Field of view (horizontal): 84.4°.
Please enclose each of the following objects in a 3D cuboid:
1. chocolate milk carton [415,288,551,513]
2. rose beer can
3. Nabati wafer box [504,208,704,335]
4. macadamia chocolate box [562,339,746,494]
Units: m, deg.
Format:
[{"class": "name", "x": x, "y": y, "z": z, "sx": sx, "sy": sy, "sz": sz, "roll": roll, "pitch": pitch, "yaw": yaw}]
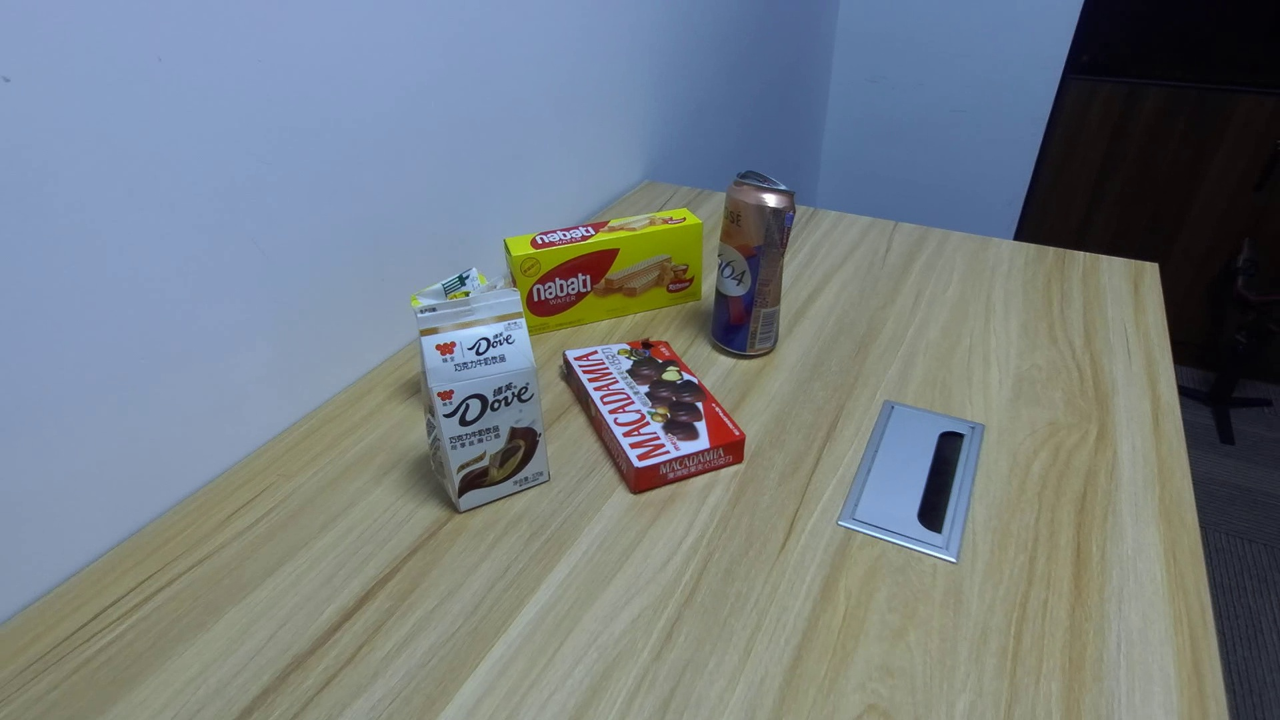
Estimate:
[{"class": "chocolate milk carton", "x": -0.119, "y": 0.022, "z": 0.513, "sx": 0.084, "sy": 0.155, "sz": 0.072, "roll": -16, "pitch": 36, "yaw": -20}, {"class": "rose beer can", "x": 0.104, "y": -0.086, "z": 0.653, "sx": 0.069, "sy": 0.168, "sz": 0.070, "roll": 15, "pitch": 30, "yaw": 20}, {"class": "Nabati wafer box", "x": -0.032, "y": -0.091, "z": 0.730, "sx": 0.203, "sy": 0.093, "sz": 0.042, "roll": -13, "pitch": 34, "yaw": -16}, {"class": "macadamia chocolate box", "x": 0.006, "y": 0.034, "z": 0.604, "sx": 0.103, "sy": 0.027, "sz": 0.186, "roll": -12, "pitch": 35, "yaw": -19}]
